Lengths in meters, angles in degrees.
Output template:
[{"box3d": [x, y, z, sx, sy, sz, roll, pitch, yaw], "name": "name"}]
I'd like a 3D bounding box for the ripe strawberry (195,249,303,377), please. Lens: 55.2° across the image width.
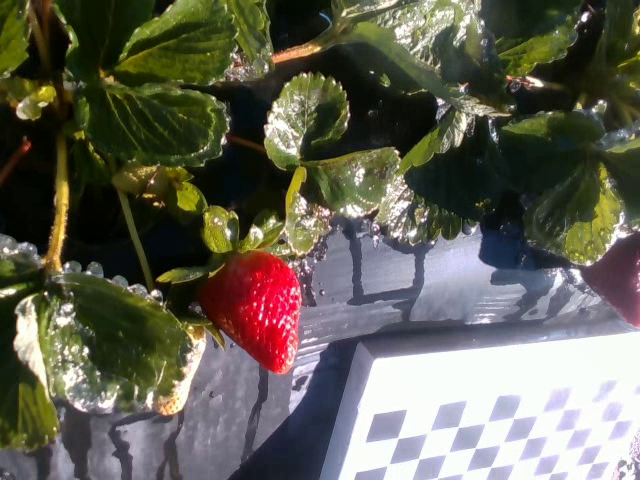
[{"box3d": [-0.026, 0.037, 0.272, 0.042, 0.061, 0.046, -13, -8, -18], "name": "ripe strawberry"}]
